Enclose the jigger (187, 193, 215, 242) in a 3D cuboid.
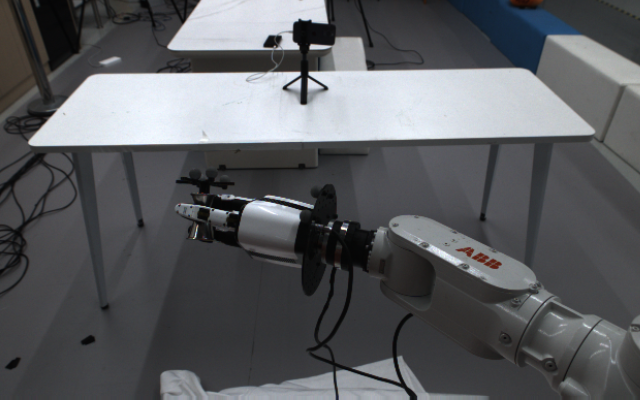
[{"bbox_3d":[-0.173,0.025,0.718,0.043,0.071,0.043,2,-5,0],"label":"jigger"}]
